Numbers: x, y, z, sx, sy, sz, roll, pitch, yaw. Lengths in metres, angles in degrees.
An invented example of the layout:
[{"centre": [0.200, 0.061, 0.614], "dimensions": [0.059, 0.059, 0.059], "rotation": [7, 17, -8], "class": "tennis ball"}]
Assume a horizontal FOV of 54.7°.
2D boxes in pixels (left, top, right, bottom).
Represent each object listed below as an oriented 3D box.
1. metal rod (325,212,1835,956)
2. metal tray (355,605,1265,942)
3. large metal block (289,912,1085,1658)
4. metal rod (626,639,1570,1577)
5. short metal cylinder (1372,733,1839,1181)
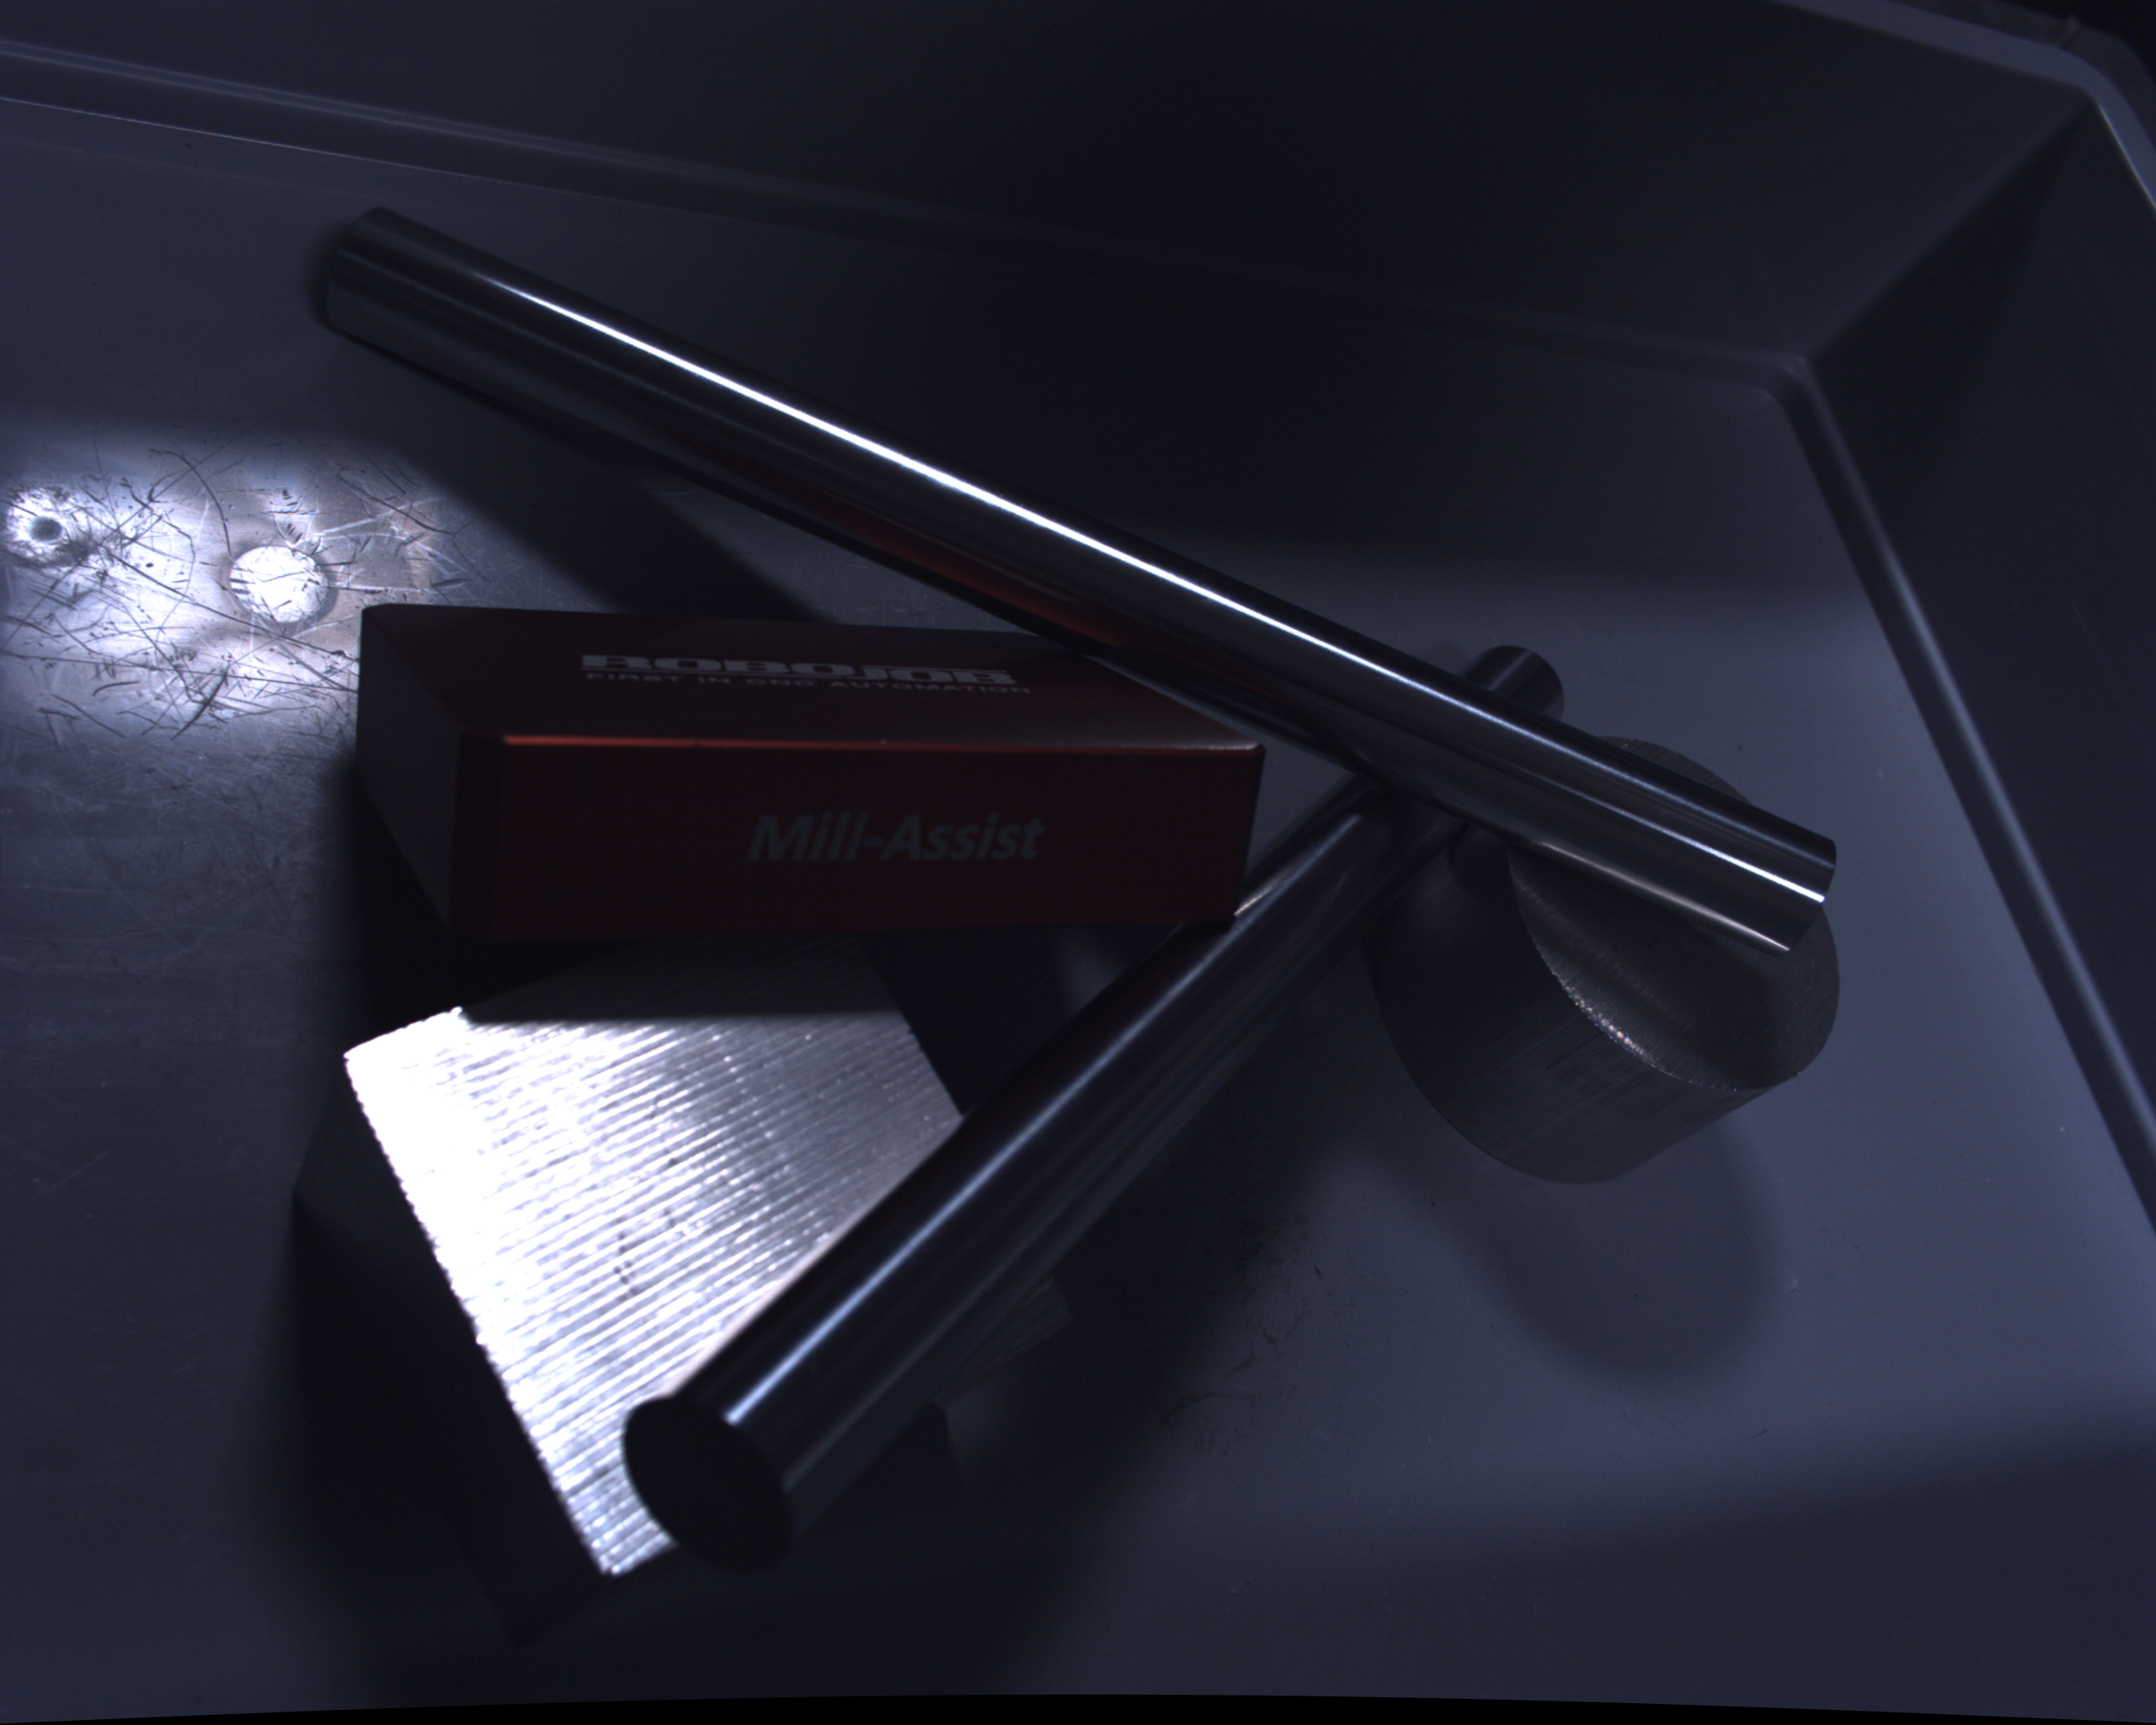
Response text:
[{"centre": [0.000, -0.054, 0.400], "dimensions": [0.301, 0.025, 0.025], "rotation": [24, 52, 1], "class": "metal rod"}, {"centre": [-0.047, -0.017, 0.351], "dimensions": [0.131, 0.030, 0.090], "rotation": [-1, 18, -27], "class": "metal tray"}, {"centre": [-0.060, 0.059, 0.316], "dimensions": [0.081, 0.050, 0.080], "rotation": [-21, 73, -36], "class": "large metal block"}, {"centre": [0.029, 0.017, 0.364], "dimensions": [0.025, 0.025, 0.302], "rotation": [47, 37, 4], "class": "metal rod"}, {"centre": [0.109, 0.020, 0.435], "dimensions": [0.081, 0.050, 0.080], "rotation": [14, 56, -21], "class": "short metal cylinder"}]
